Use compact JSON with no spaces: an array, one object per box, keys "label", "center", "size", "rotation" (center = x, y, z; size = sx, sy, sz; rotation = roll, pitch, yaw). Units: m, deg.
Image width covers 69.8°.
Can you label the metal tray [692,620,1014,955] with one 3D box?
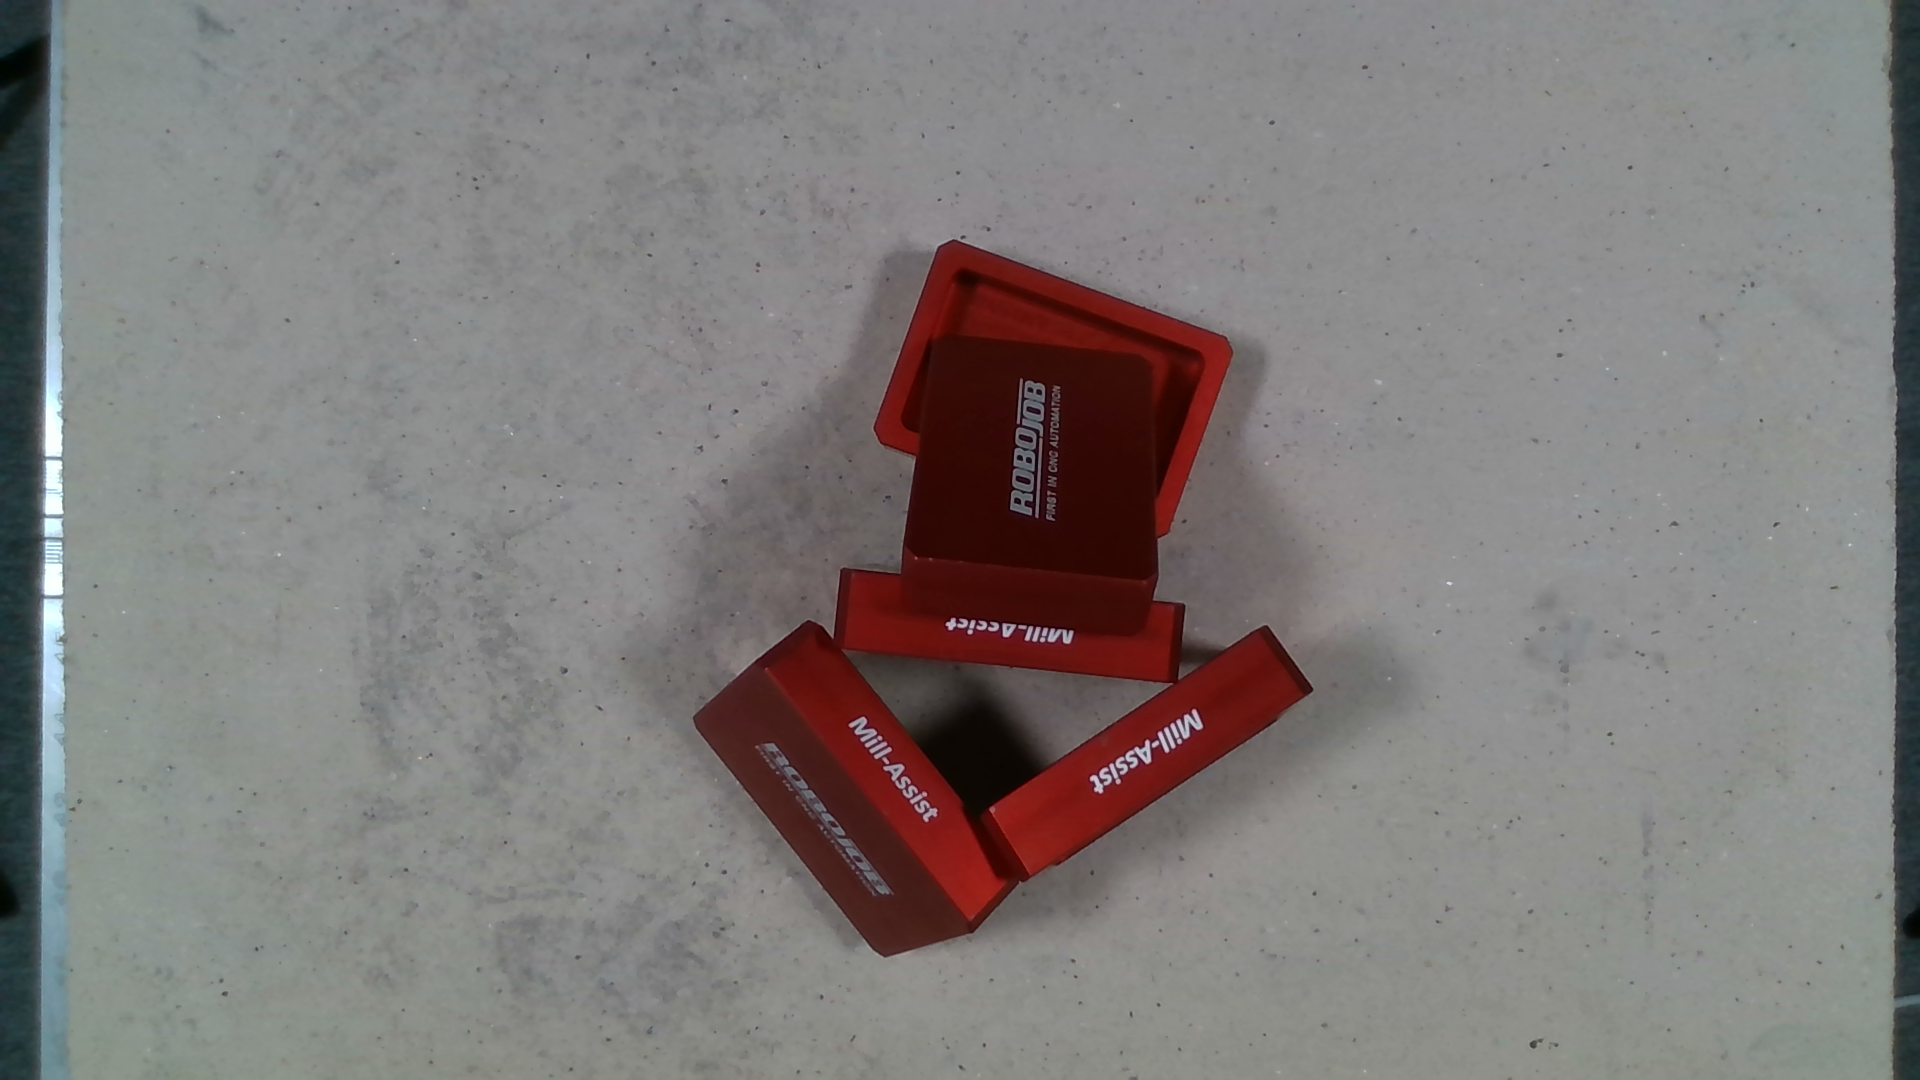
[{"label":"metal tray","center":[-0.045,0.103,0.555],"size":[0.030,0.090,0.130],"rotation":[-39,90,-35]}]

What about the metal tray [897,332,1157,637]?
[{"label":"metal tray","center":[0.028,-0.025,0.530],"size":[0.090,0.030,0.130],"rotation":[6,46,0]}]

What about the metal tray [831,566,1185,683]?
[{"label":"metal tray","center":[0.018,0.032,0.555],"size":[0.130,0.090,0.030],"rotation":[6,90,0]}]

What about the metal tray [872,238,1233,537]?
[{"label":"metal tray","center":[0.038,-0.062,0.584],"size":[0.130,0.030,0.090],"rotation":[20,90,0]}]

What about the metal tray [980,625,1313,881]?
[{"label":"metal tray","center":[0.075,0.088,0.553],"size":[0.130,0.090,0.030],"rotation":[-33,76,0]}]
